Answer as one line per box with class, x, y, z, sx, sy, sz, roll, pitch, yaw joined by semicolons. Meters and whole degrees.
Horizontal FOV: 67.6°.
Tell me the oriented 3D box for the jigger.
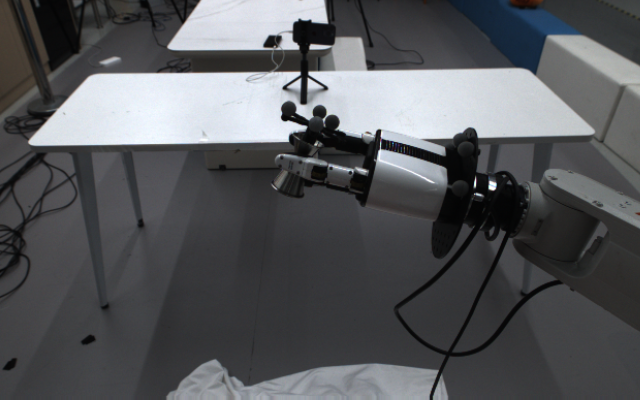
jigger;-0.027;-0.042;0.578;0.043;0.071;0.043;23;19;-8
